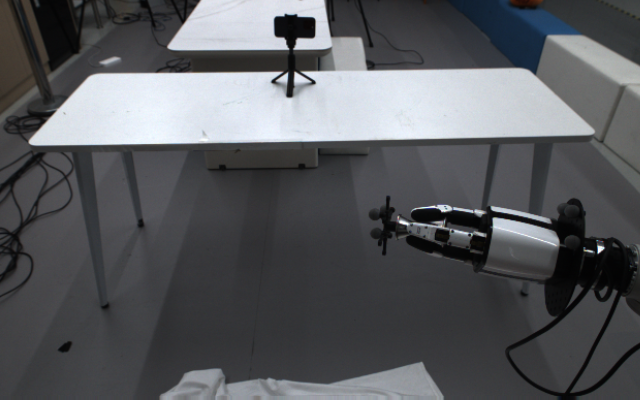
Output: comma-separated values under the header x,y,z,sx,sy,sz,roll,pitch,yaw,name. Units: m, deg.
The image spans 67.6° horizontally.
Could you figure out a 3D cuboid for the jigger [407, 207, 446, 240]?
x,y,z,sx,sy,sz,roll,pitch,yaw,name
0.153,0.037,0.700,0.071,0.043,0.043,5,34,19,jigger
